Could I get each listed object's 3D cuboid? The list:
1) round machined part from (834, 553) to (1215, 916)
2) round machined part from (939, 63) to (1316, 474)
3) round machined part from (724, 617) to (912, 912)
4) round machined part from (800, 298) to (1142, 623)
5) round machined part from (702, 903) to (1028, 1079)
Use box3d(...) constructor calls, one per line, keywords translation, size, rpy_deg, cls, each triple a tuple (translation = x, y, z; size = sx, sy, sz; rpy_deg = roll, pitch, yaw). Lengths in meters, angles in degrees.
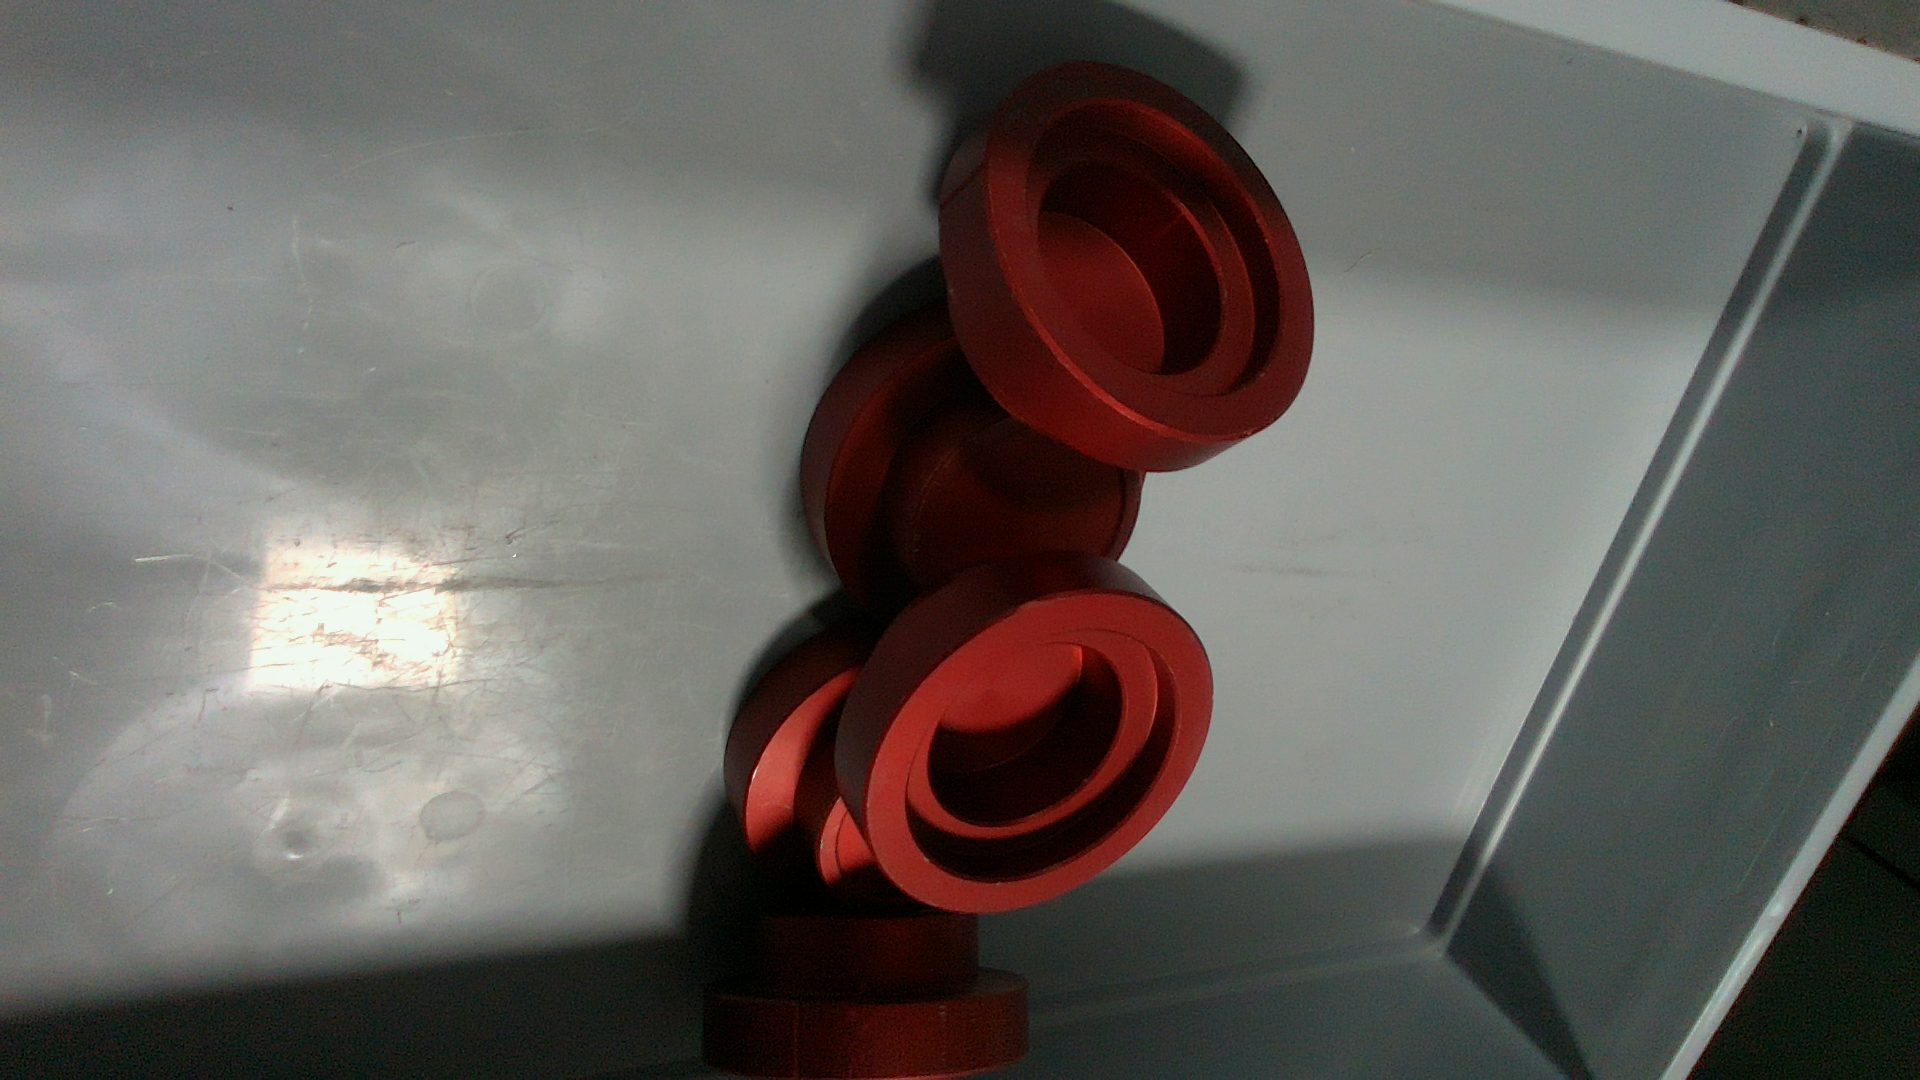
box3d(translation=(0.013, 0.046, 0.356), size=(0.098, 0.042, 0.098), rpy_deg=(-14, 124, -21), cls="round machined part")
box3d(translation=(0.036, -0.061, 0.335), size=(0.098, 0.098, 0.042), rpy_deg=(7, 157, -31), cls="round machined part")
box3d(translation=(-0.017, 0.072, 0.411), size=(0.098, 0.042, 0.098), rpy_deg=(-14, 124, -21), cls="round machined part")
box3d(translation=(0.010, -0.014, 0.373), size=(0.098, 0.042, 0.098), rpy_deg=(-14, 124, -21), cls="round machined part")
box3d(translation=(-0.028, 0.134, 0.420), size=(0.098, 0.098, 0.042), rpy_deg=(6, 78, -31), cls="round machined part")
